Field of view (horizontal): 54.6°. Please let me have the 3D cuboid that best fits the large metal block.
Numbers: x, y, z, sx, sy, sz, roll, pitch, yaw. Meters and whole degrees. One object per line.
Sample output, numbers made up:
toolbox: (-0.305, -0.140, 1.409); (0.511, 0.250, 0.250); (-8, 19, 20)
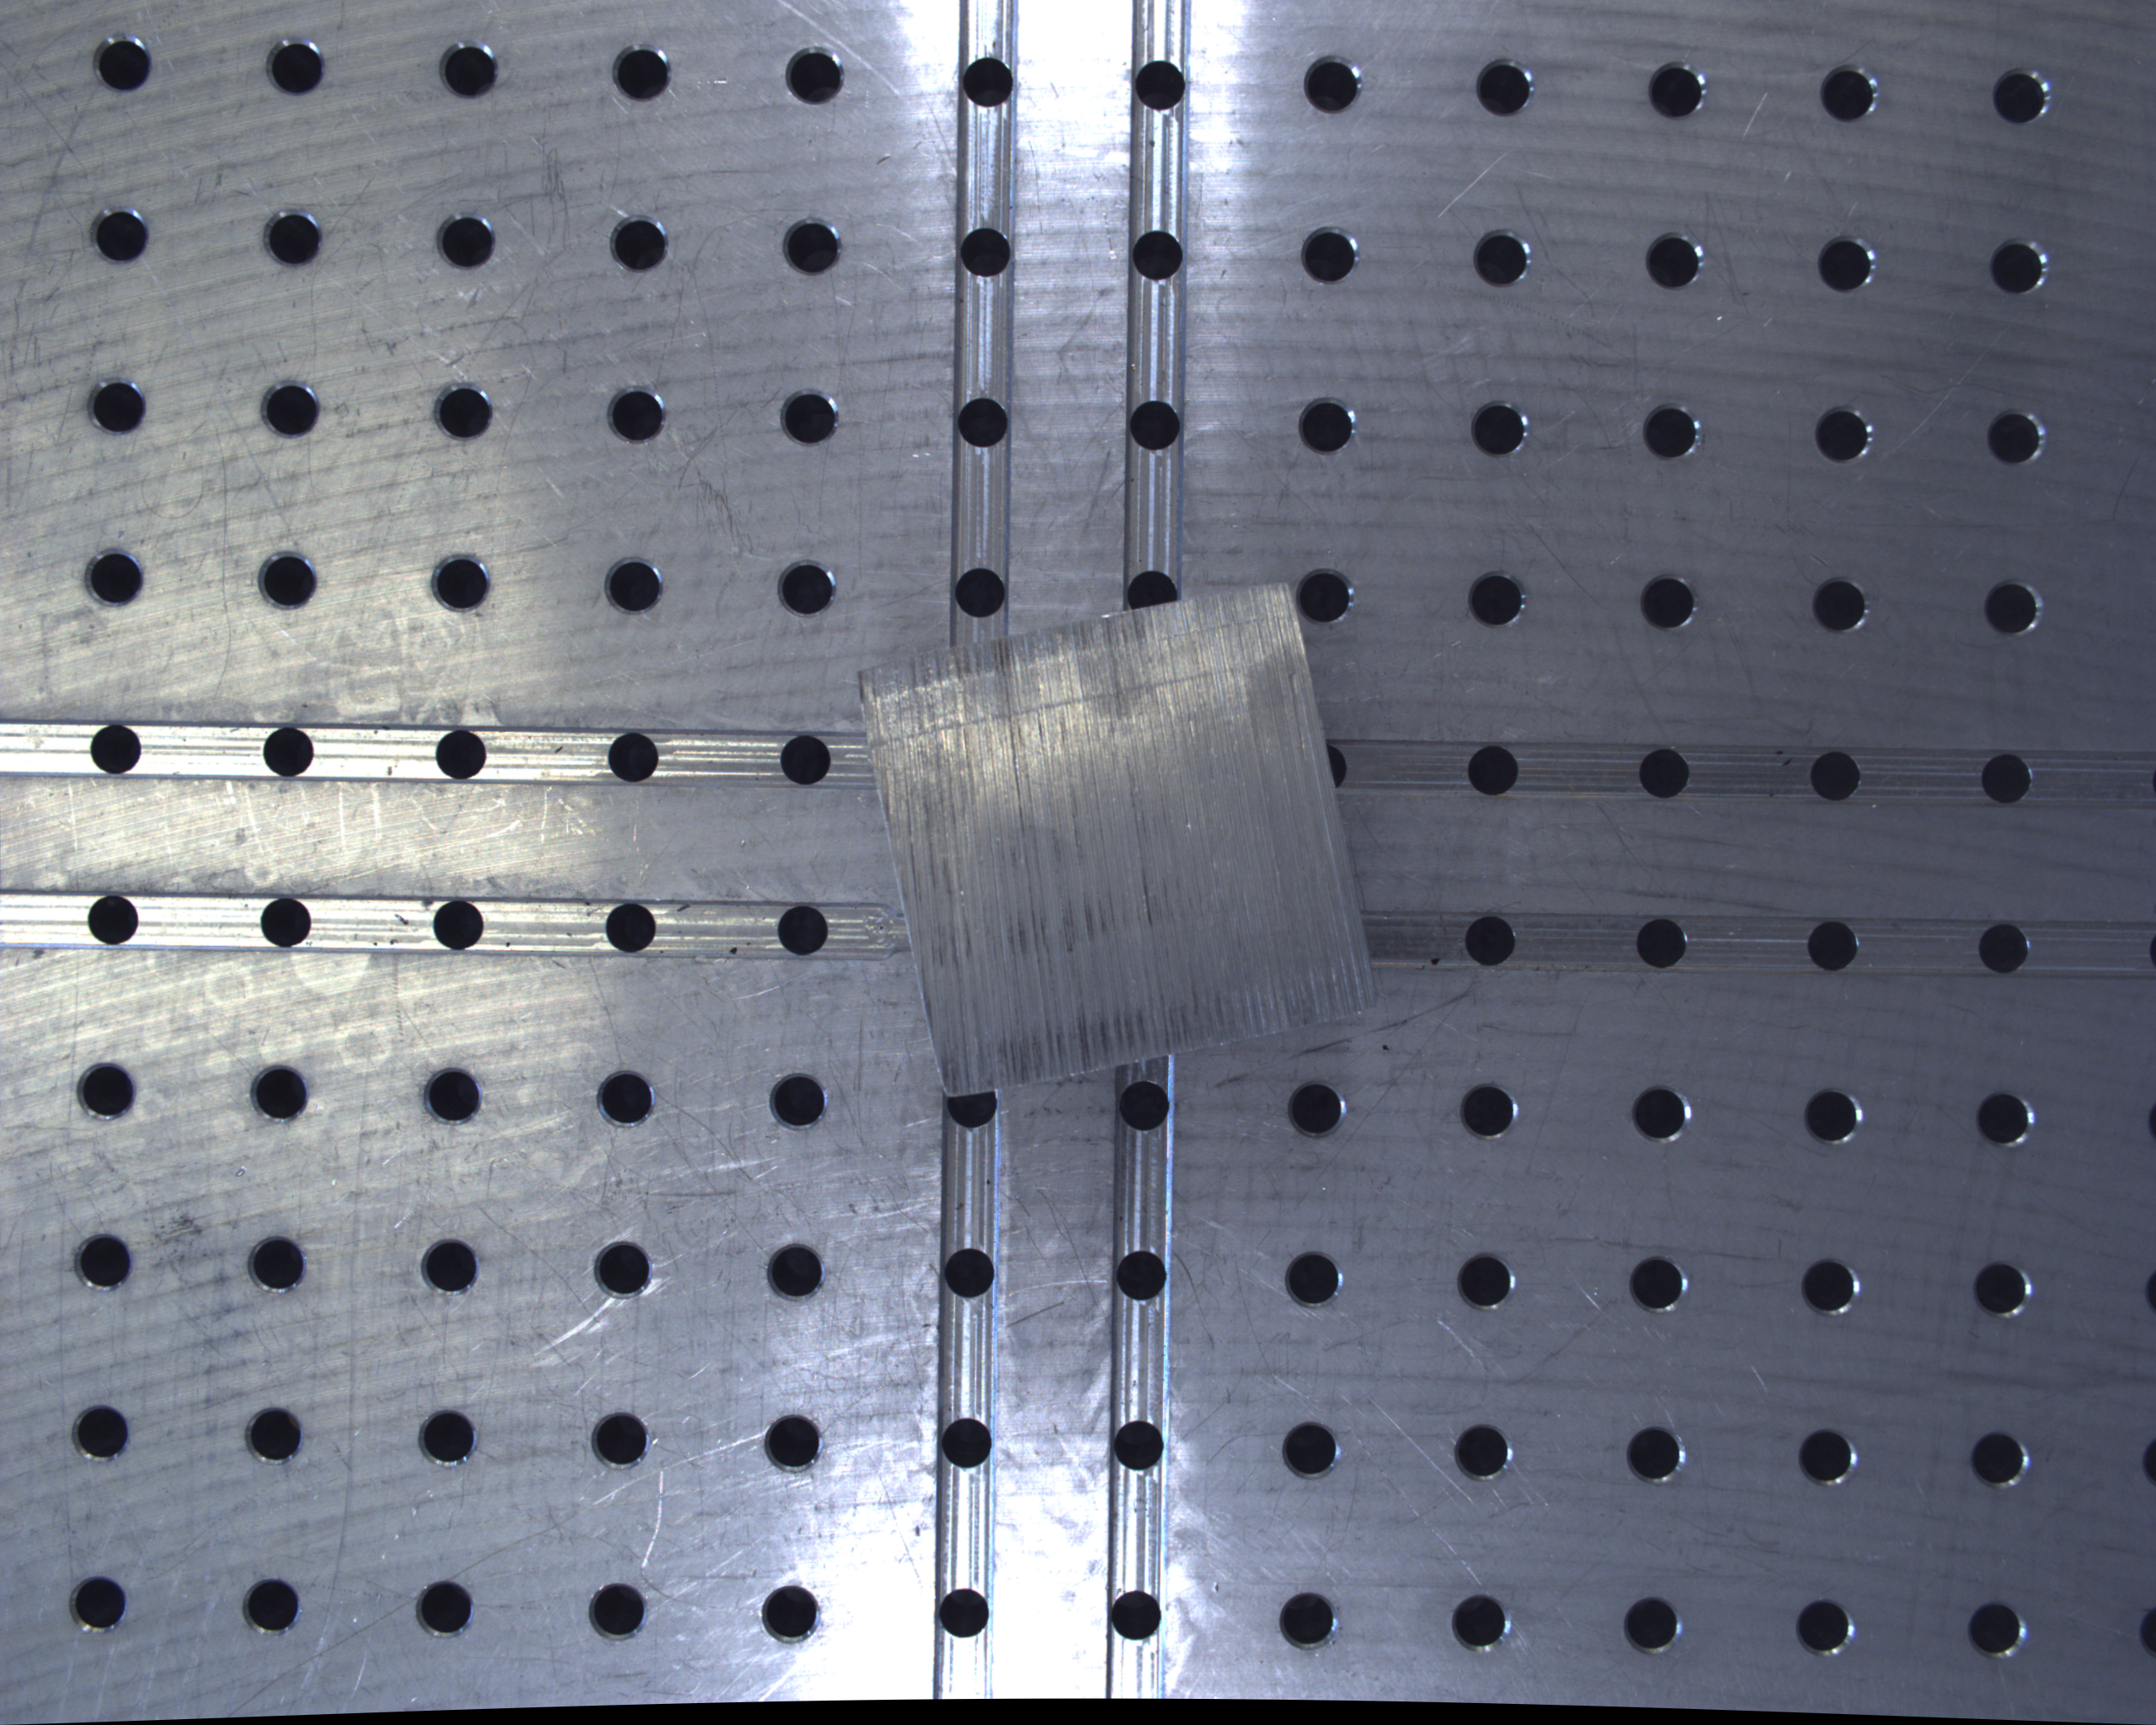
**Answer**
large metal block: (0.007, -0.004, 0.400); (0.080, 0.050, 0.080); (-12, 90, 0)
